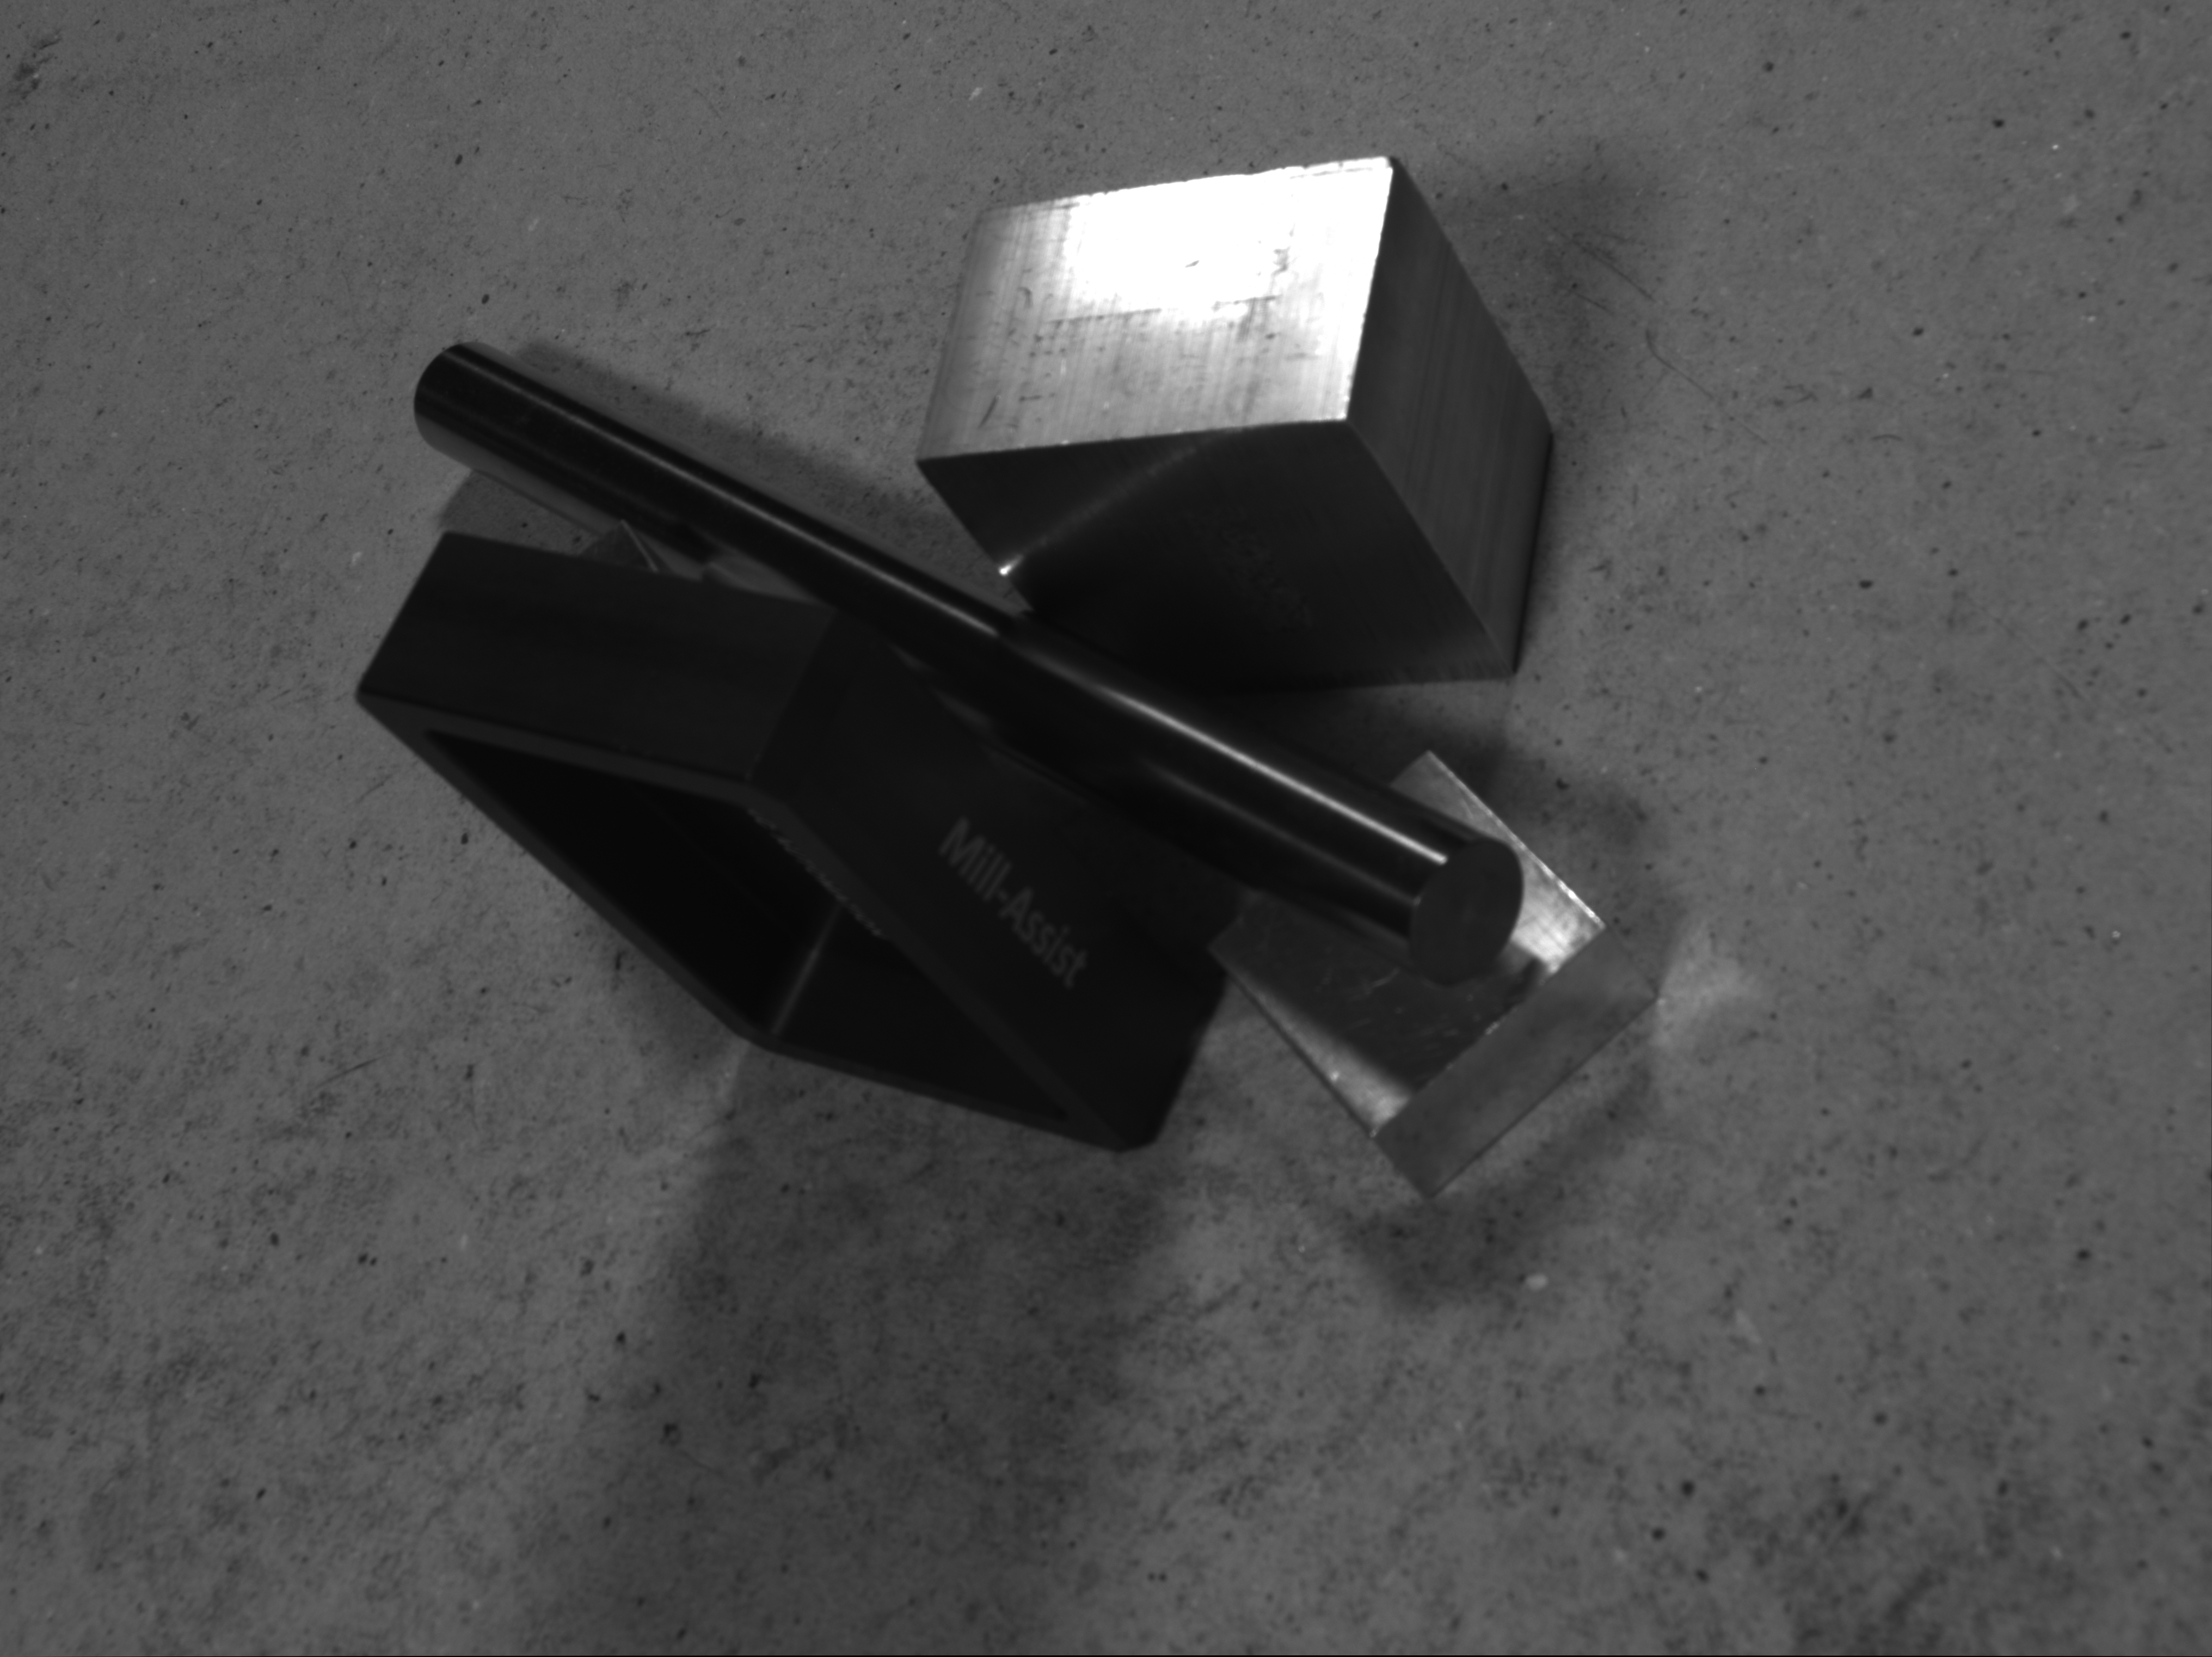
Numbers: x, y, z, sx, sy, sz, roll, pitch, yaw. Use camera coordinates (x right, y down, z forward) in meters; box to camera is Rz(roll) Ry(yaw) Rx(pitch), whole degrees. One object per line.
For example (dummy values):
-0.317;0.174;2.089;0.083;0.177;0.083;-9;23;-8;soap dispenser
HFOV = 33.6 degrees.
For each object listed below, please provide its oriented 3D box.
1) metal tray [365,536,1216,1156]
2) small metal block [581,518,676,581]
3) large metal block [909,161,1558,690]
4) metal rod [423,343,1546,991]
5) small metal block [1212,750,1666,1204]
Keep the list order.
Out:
-0.049;0.005;0.600;0.090;0.130;0.030;13;68;34;metal tray
-0.076;-0.022;0.682;0.025;0.050;0.050;-39;51;2;small metal block
0.024;-0.066;0.635;0.080;0.080;0.050;-2;61;27;large metal block
-0.037;-0.038;0.670;0.299;0.025;0.025;28;77;43;metal rod
0.054;0.024;0.601;0.050;0.025;0.050;-41;51;0;small metal block
